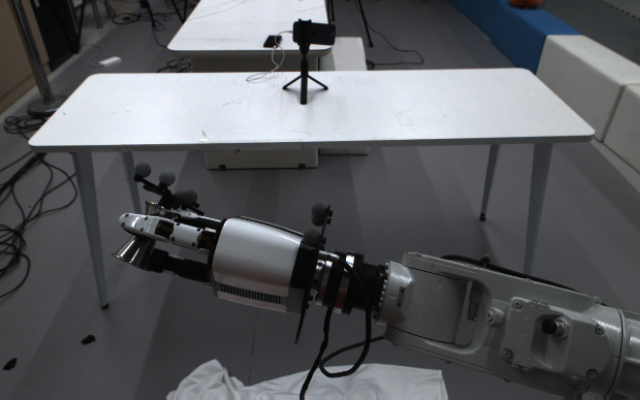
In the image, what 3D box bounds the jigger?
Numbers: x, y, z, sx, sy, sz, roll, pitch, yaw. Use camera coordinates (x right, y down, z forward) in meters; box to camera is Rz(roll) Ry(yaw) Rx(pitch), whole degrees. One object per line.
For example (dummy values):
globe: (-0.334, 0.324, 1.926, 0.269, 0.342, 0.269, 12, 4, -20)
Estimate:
jigger: (-0.191, 0.038, 0.531, 0.043, 0.043, 0.071, 20, 73, 23)
